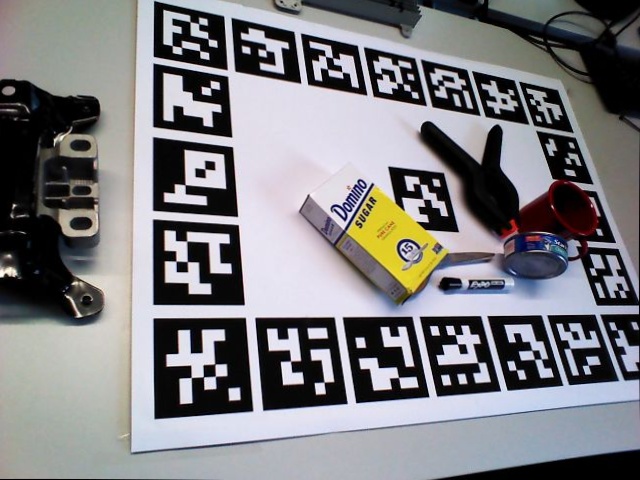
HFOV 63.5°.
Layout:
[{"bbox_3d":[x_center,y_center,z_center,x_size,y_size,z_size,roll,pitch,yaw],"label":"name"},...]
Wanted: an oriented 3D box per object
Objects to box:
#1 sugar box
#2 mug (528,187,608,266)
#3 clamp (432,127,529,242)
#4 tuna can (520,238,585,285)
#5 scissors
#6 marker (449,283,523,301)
[{"bbox_3d":[0.090,-0.002,0.664,0.176,0.045,0.092,47,56,8],"label":"sugar box"},{"bbox_3d":[0.378,-0.011,0.790,0.093,0.082,0.117,-27,77,-32],"label":"mug"},{"bbox_3d":[0.273,-0.088,0.812,0.165,0.037,0.202,-8,72,-28],"label":"clamp"},{"bbox_3d":[0.332,0.033,0.742,0.086,0.086,0.033,19,60,-16],"label":"tuna can"},{"bbox_3d":[0.184,0.031,0.712,0.202,0.016,0.087,-8,67,-29],"label":"scissors"},{"bbox_3d":[0.230,0.072,0.717,0.121,0.020,0.019,-1,68,-24],"label":"marker"}]
